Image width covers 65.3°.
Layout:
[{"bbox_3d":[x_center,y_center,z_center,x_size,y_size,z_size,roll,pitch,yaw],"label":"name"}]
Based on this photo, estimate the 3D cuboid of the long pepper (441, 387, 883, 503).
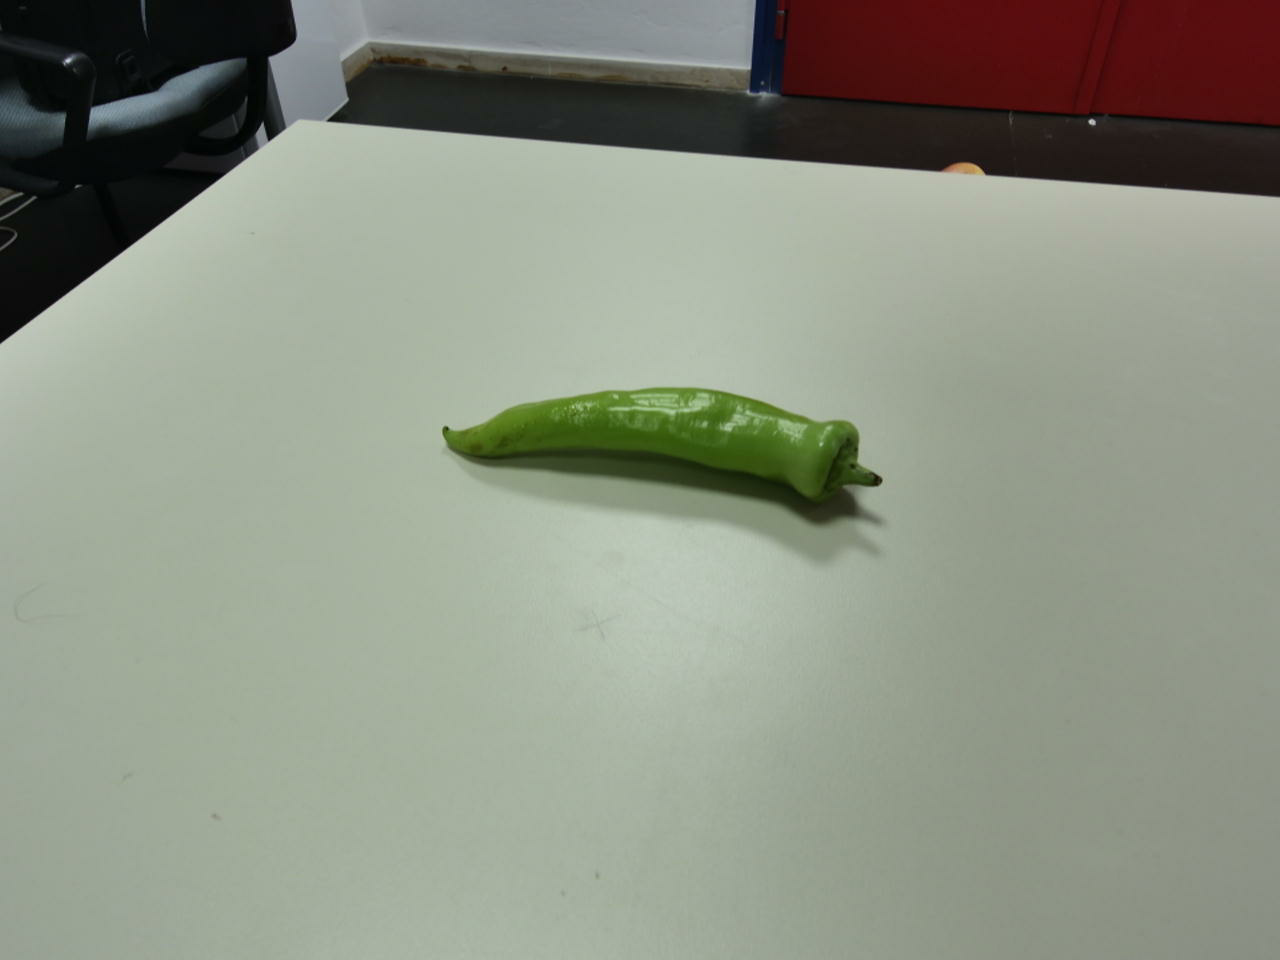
[{"bbox_3d":[0.006,-0.022,0.437,0.197,0.038,0.046,10,39,13],"label":"long pepper"}]
